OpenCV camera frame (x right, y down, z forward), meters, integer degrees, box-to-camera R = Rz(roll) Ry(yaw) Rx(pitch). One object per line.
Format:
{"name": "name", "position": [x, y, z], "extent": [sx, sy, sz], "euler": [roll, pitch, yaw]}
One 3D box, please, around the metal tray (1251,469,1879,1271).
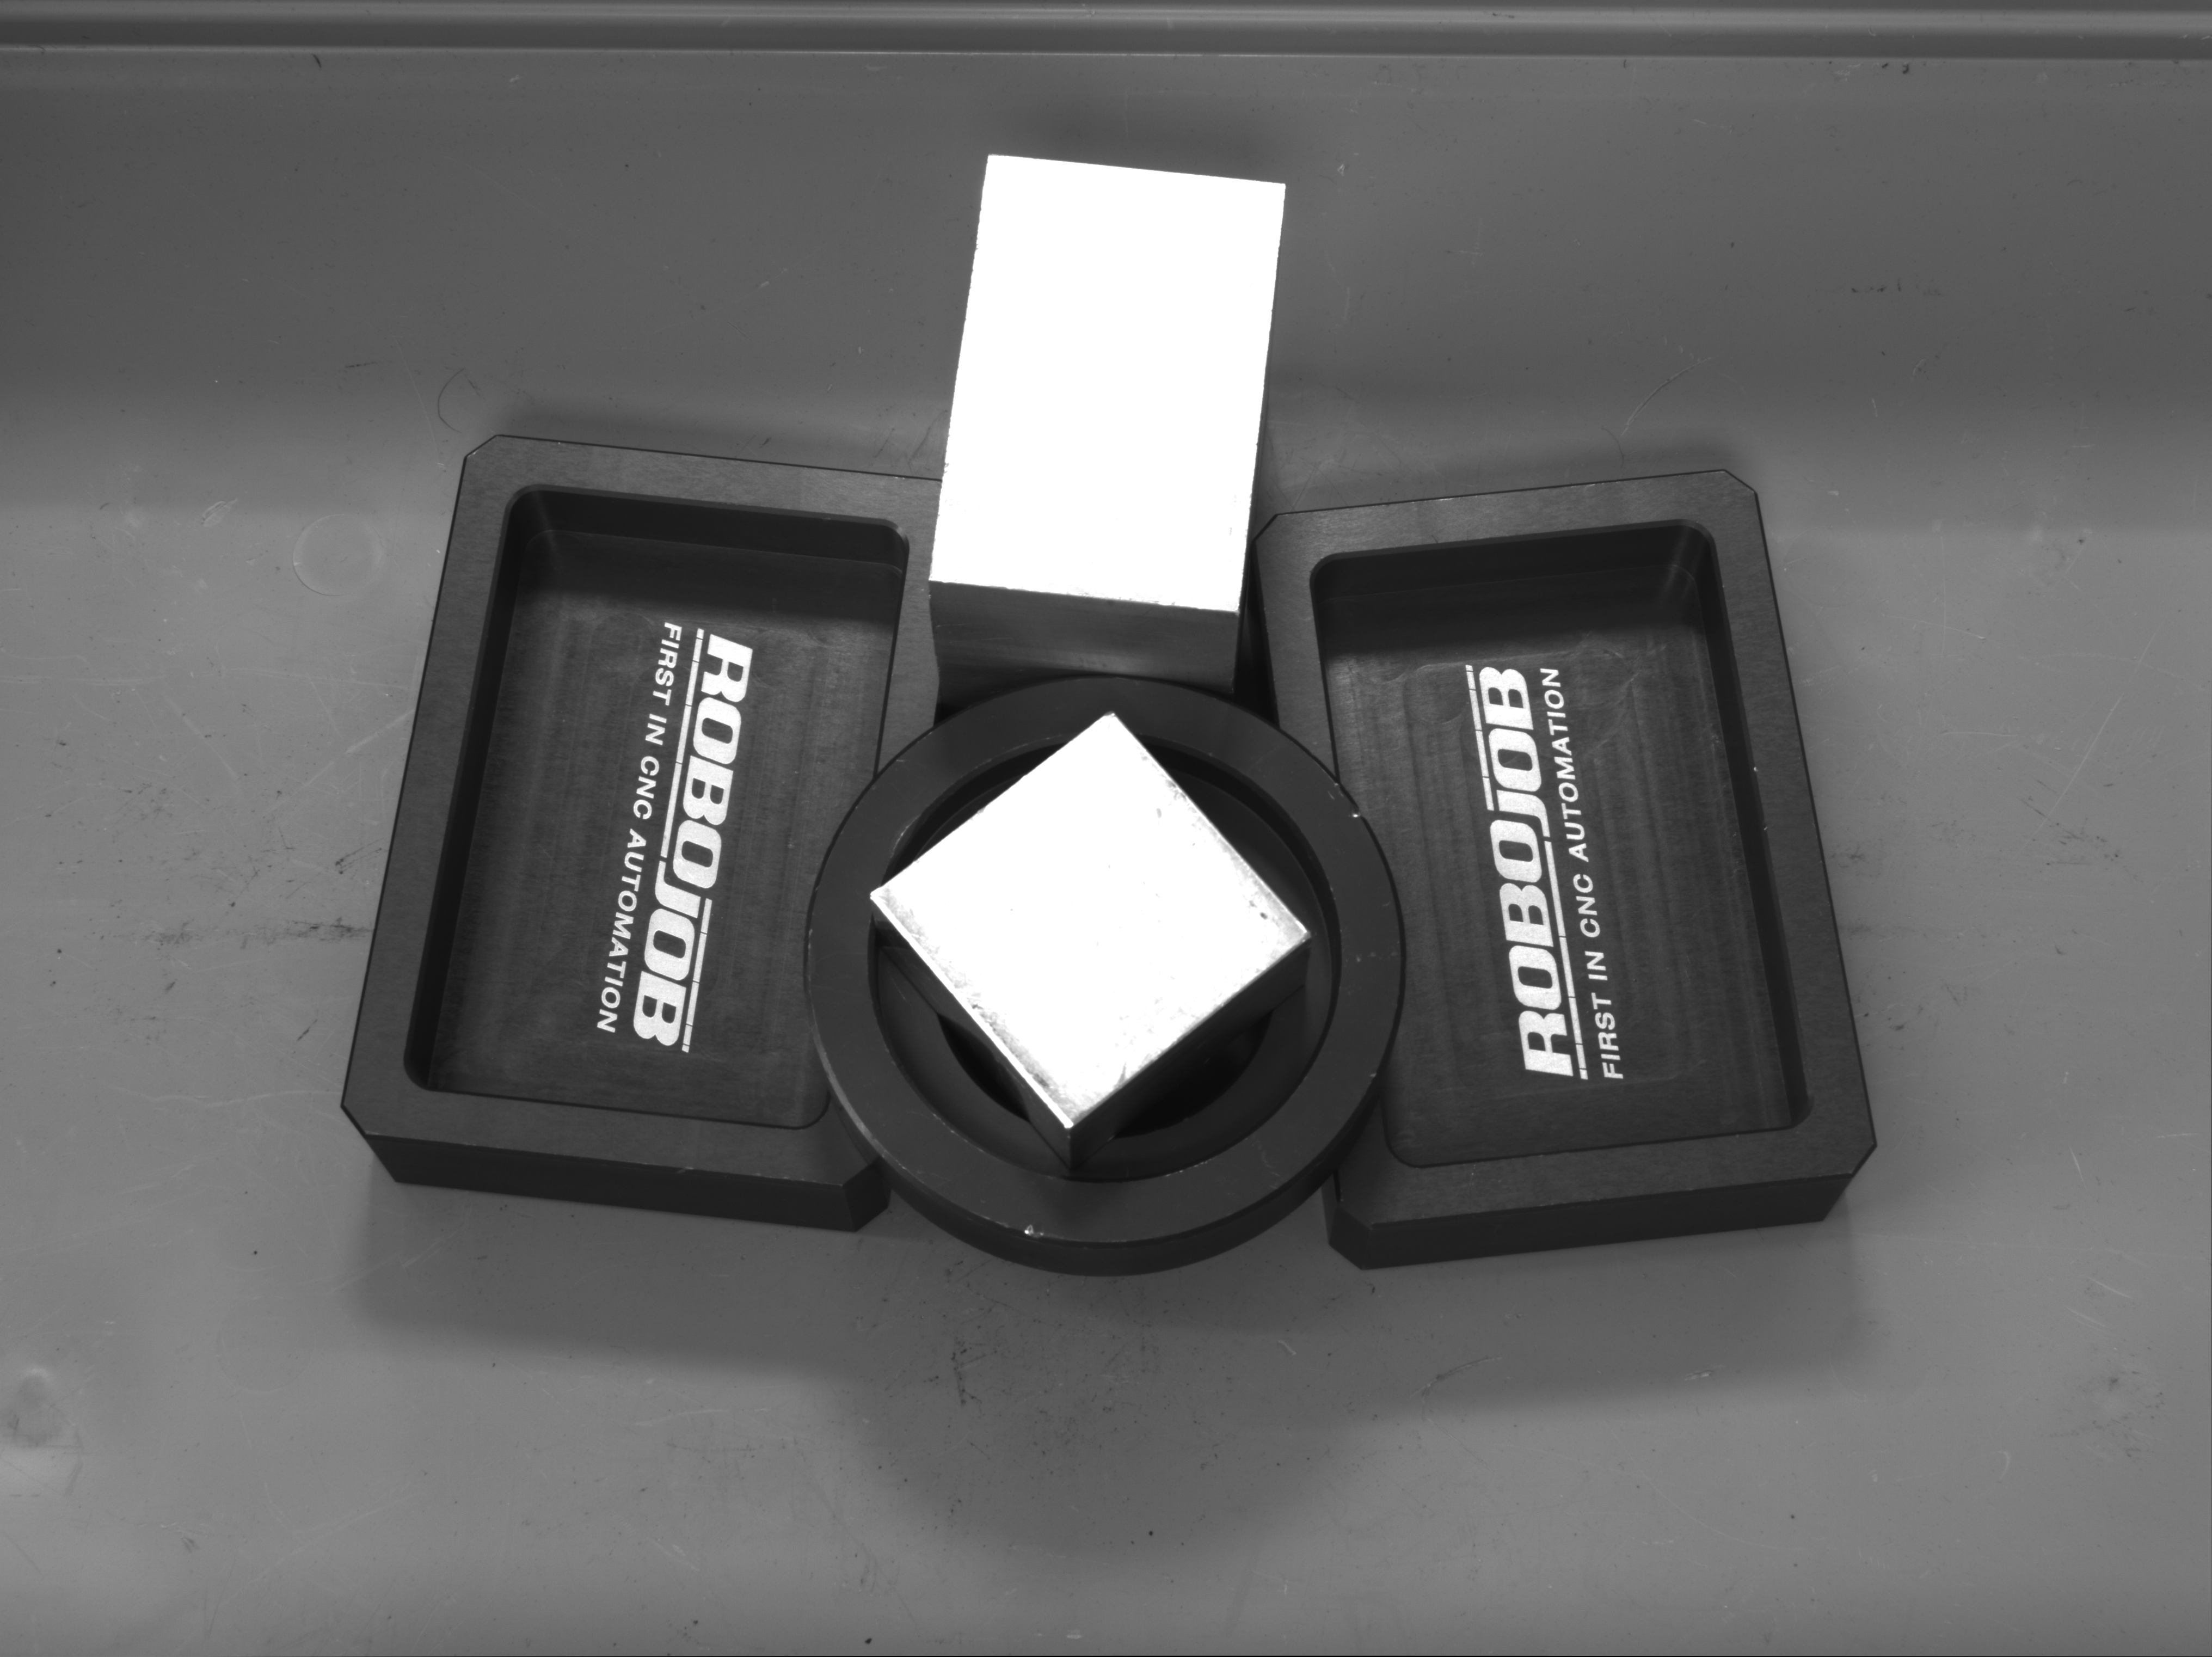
{"name": "metal tray", "position": [0.077, 0.006, 0.639], "extent": [0.090, 0.030, 0.130], "euler": [-6, 70, -2]}

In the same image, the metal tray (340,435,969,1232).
{"name": "metal tray", "position": [-0.076, 0.000, 0.641], "extent": [0.090, 0.030, 0.130], "euler": [6, 70, 2]}

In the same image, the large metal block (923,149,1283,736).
{"name": "large metal block", "position": [0.000, -0.060, 0.637], "extent": [0.050, 0.080, 0.080], "euler": [6, 70, 2]}

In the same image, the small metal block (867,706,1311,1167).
{"name": "small metal block", "position": [-0.003, 0.018, 0.593], "extent": [0.050, 0.025, 0.050], "euler": [-37, 74, -13]}

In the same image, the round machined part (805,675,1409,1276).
{"name": "round machined part", "position": [0.000, 0.027, 0.615], "extent": [0.098, 0.042, 0.098], "euler": [0, 70, 0]}
